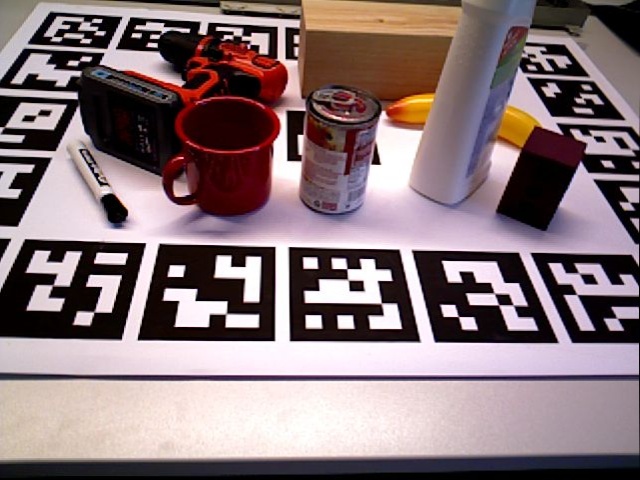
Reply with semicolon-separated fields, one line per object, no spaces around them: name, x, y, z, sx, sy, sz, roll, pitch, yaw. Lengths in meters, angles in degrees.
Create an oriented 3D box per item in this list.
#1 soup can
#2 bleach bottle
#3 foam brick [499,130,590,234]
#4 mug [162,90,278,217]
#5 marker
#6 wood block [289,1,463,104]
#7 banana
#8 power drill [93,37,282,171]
soup can;0.014;-0.083;0.494;0.067;0.104;0.067;5;40;-5
bleach bottle;0.141;-0.152;0.481;0.068;0.257;0.100;21;45;14
foam brick;0.214;-0.056;0.520;0.053;0.080;0.050;23;44;18
mug;-0.094;-0.070;0.489;0.093;0.083;0.114;34;53;22
marker;-0.211;-0.044;0.499;0.019;0.020;0.120;-25;53;-26
wood block;0.069;-0.227;0.667;0.204;0.093;0.088;0;46;-8
banana;0.155;-0.149;0.630;0.197;0.039;0.073;13;59;3
power drill;-0.156;-0.158;0.598;0.184;0.059;0.182;23;45;11
